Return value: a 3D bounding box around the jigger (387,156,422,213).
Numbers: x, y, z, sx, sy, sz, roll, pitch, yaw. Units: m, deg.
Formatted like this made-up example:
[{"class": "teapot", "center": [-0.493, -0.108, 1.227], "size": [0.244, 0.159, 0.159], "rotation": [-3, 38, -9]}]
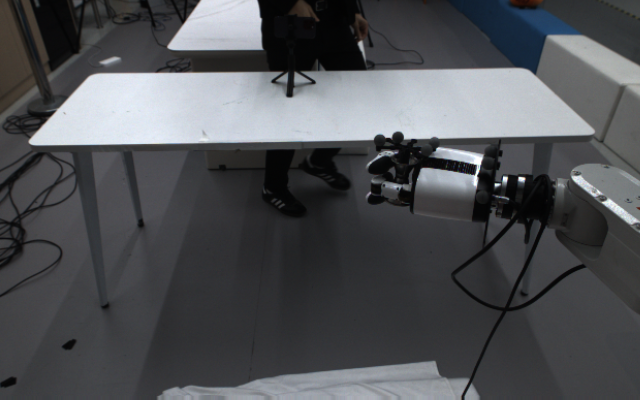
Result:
[{"class": "jigger", "center": [0.127, -0.031, 0.734], "size": [0.043, 0.071, 0.043], "rotation": [3, 24, -1]}]
